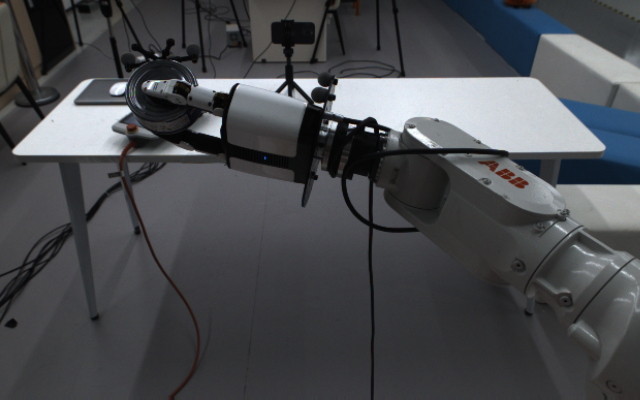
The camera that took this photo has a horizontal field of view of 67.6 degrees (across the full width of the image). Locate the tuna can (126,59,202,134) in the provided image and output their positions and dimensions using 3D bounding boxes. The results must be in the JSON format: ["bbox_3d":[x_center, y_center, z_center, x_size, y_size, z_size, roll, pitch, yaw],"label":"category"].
[{"bbox_3d":[-0.185,-0.125,0.579,0.085,0.034,0.085,0,72,-2],"label":"tuna can"}]
